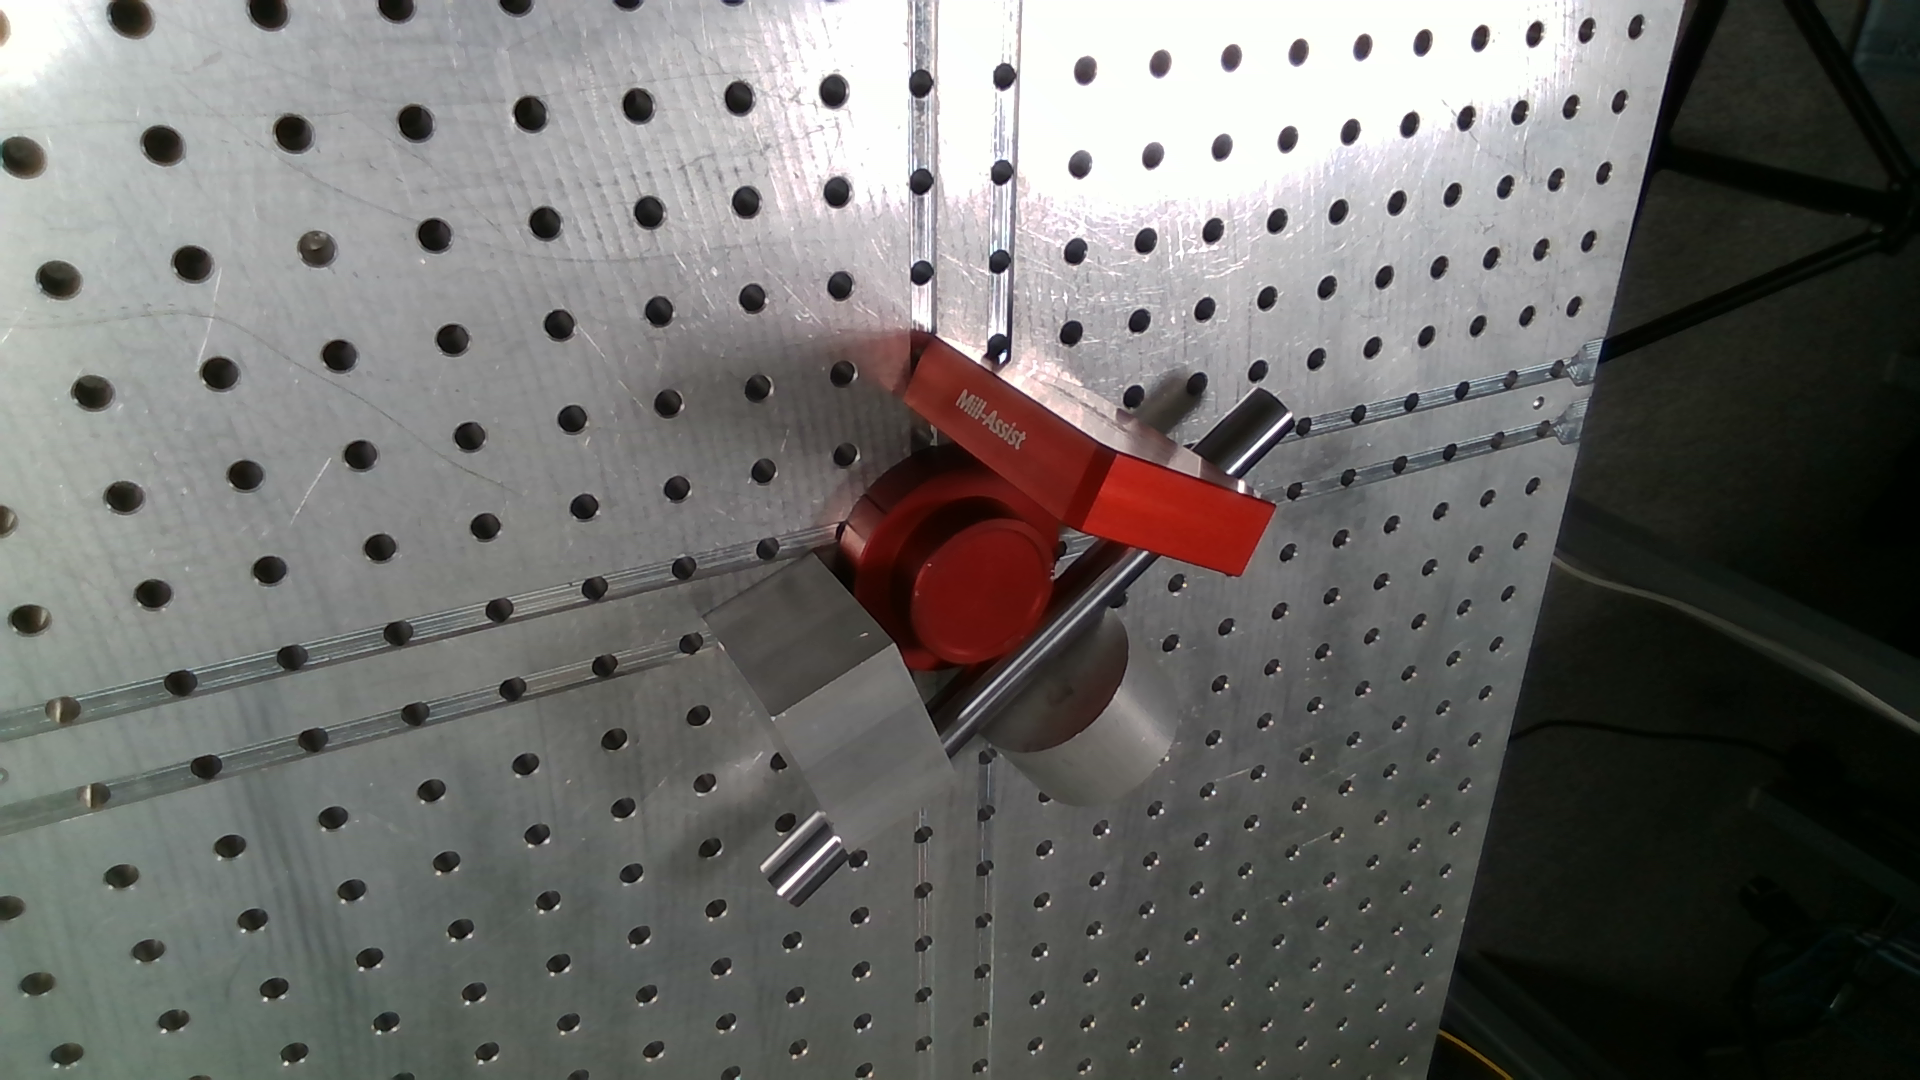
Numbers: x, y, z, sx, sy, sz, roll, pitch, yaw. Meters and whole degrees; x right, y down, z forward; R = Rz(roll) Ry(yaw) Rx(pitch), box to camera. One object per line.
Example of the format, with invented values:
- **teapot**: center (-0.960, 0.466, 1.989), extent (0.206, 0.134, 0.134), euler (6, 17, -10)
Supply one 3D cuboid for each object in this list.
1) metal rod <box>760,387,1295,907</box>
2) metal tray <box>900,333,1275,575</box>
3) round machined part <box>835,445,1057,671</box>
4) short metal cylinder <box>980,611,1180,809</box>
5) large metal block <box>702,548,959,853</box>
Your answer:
- **metal rod**: center (0.031, 0.044, 0.600), extent (0.300, 0.025, 0.025), euler (-44, 129, -4)
- **metal tray**: center (0.046, -0.035, 0.526), extent (0.090, 0.130, 0.030), euler (14, 106, -36)
- **round machined part**: center (0.000, 0.013, 0.579), extent (0.098, 0.042, 0.098), euler (-14, 122, -25)
- **short metal cylinder**: center (0.051, 0.073, 0.618), extent (0.080, 0.080, 0.050), euler (-45, 129, -3)
- **large metal block**: center (-0.052, 0.063, 0.550), extent (0.050, 0.080, 0.080), euler (-31, 127, -14)
